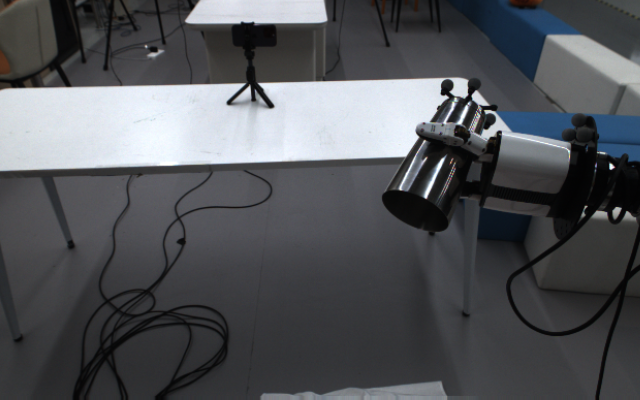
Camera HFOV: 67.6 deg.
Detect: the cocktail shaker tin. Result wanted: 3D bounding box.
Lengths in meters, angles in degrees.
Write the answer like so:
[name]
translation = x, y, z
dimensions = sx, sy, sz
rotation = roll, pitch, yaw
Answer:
[cocktail shaker tin]
translation = 0.162, -0.058, 0.644
dimensions = 0.093, 0.093, 0.170
rotation = 20, 67, 23
